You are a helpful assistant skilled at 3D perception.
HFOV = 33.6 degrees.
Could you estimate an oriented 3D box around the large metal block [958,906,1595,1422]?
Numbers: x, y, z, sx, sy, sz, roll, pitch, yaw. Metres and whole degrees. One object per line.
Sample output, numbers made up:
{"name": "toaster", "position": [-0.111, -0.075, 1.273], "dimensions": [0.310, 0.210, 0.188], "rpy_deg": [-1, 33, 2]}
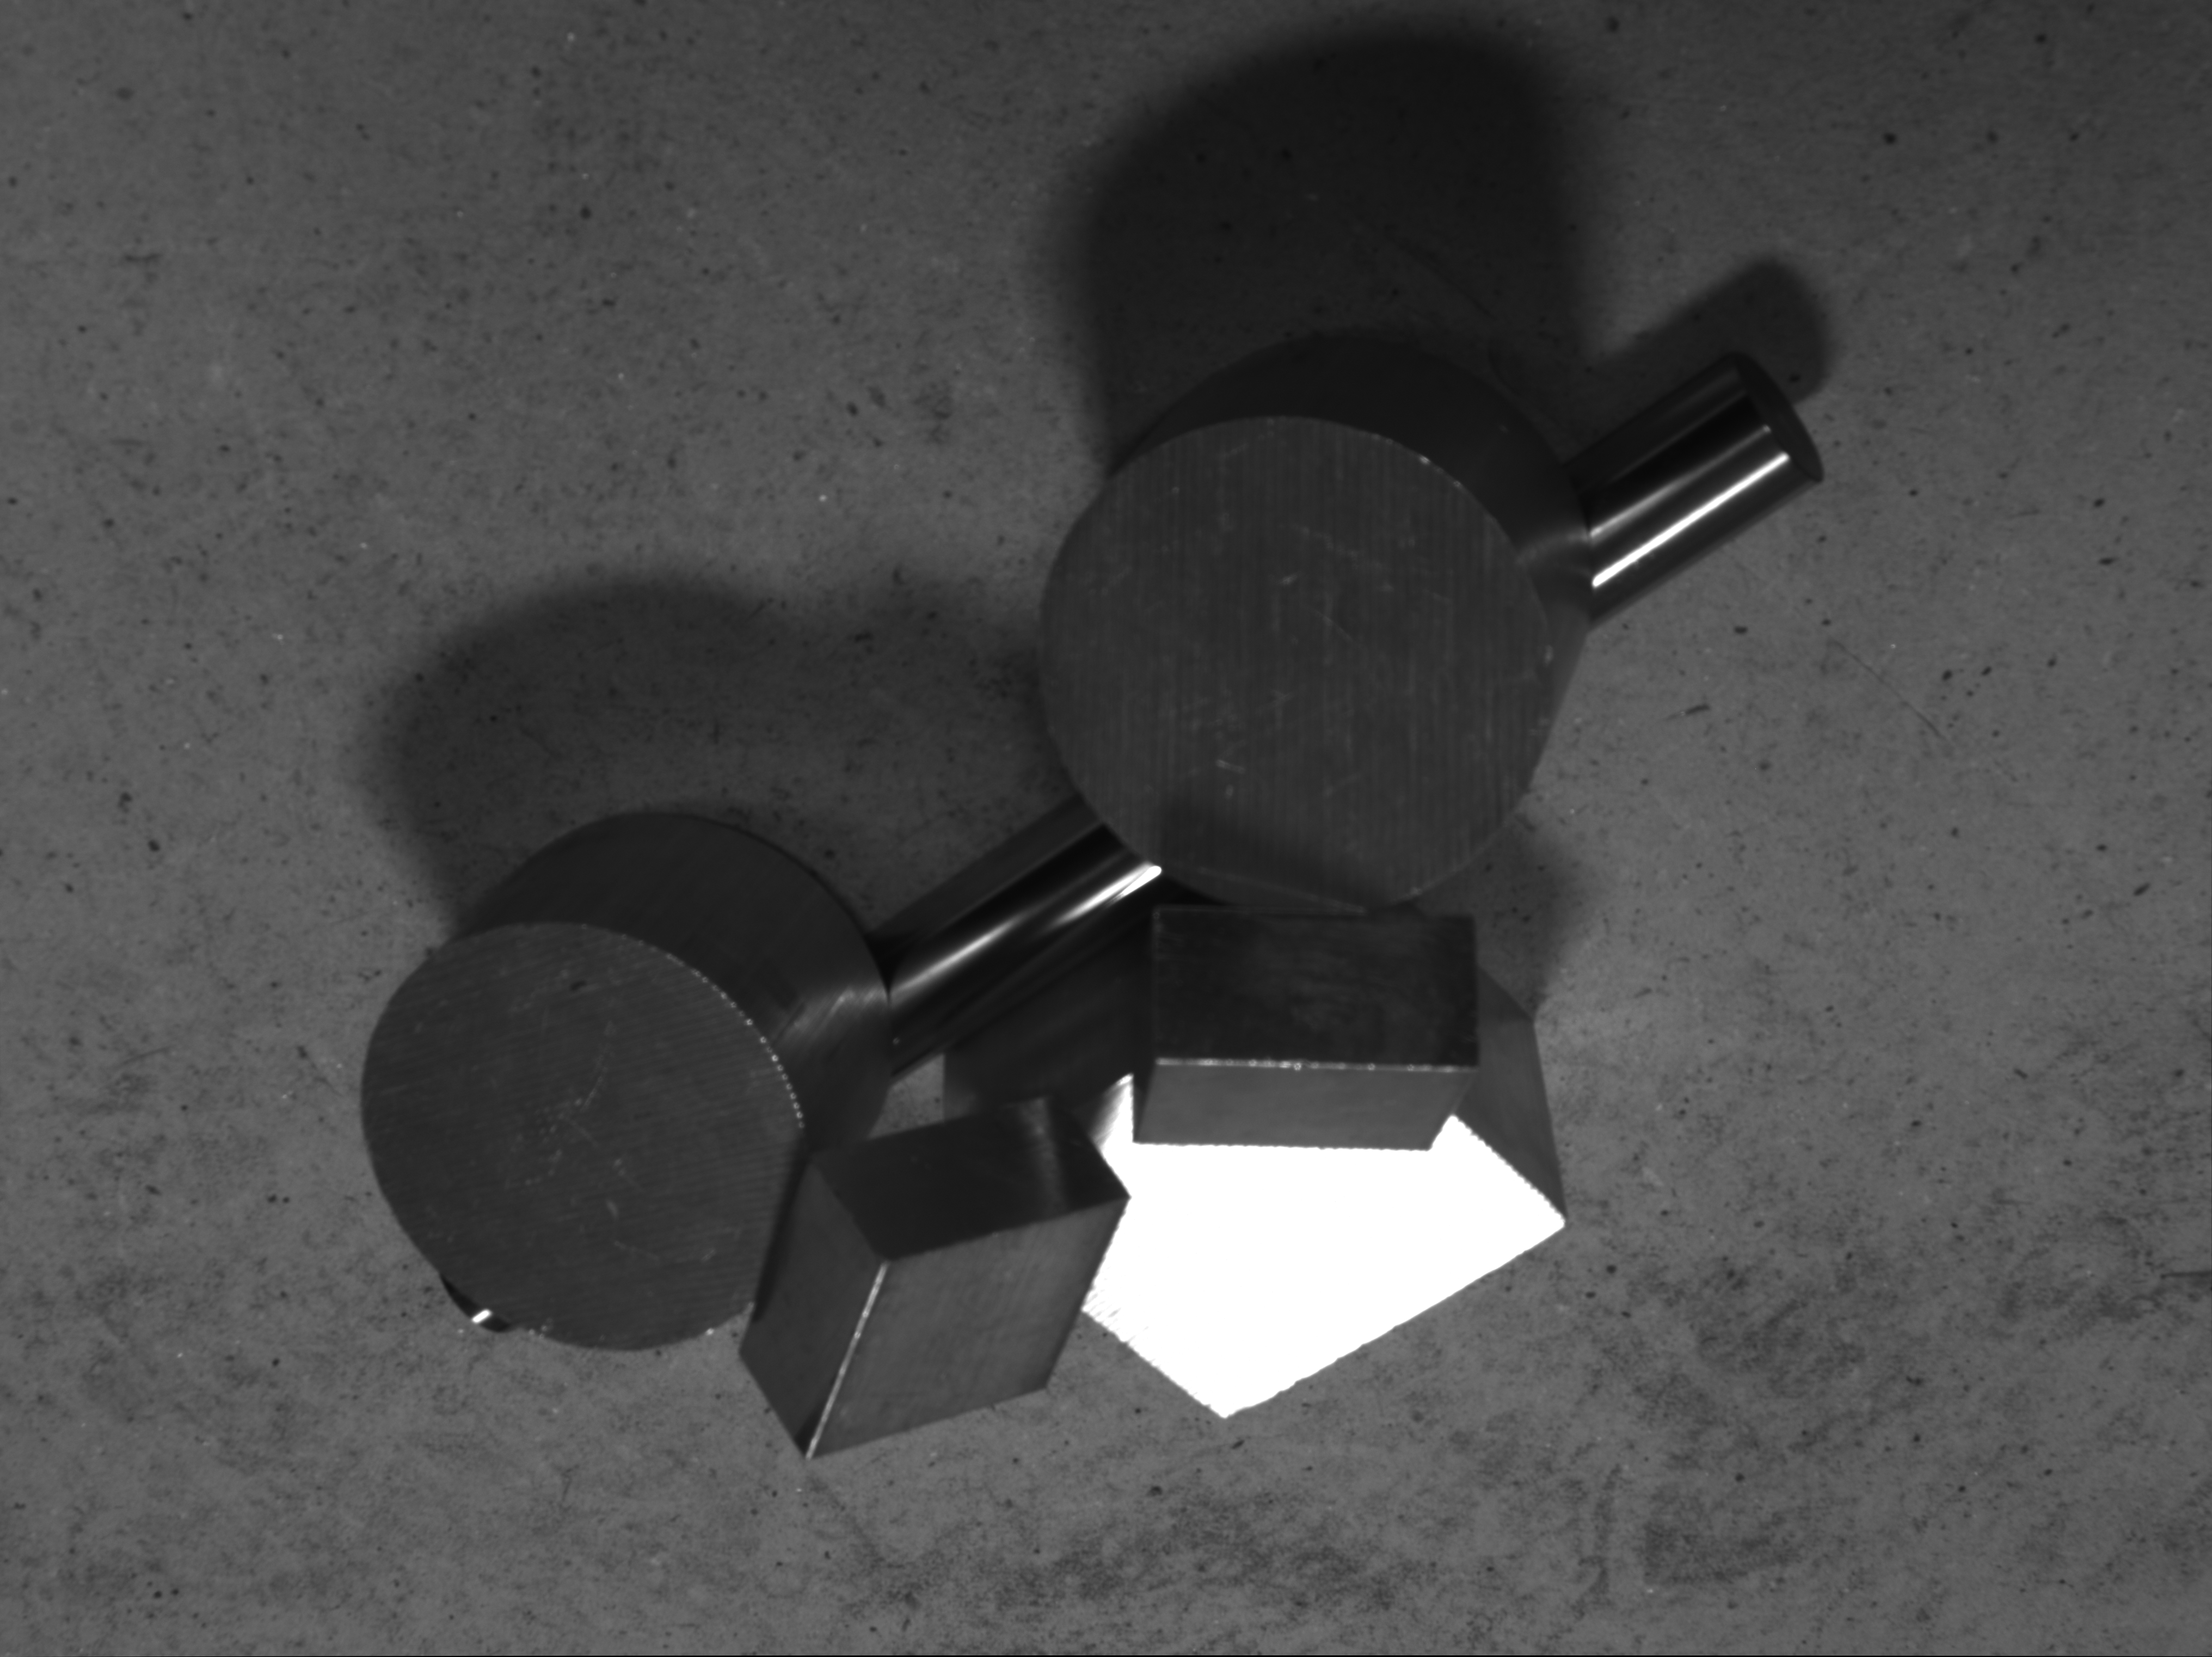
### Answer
{"name": "large metal block", "position": [0.030, 0.051, 0.664], "dimensions": [0.080, 0.050, 0.080], "rpy_deg": [-34, 123, 24]}

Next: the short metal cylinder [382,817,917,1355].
{"name": "short metal cylinder", "position": [-0.079, 0.044, 0.638], "dimensions": [0.080, 0.050, 0.080], "rpy_deg": [5, 112, 13]}

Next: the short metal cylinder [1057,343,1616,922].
{"name": "short metal cylinder", "position": [0.037, -0.032, 0.578], "dimensions": [0.080, 0.050, 0.080], "rpy_deg": [5, 112, 13]}

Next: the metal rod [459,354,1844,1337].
{"name": "metal rod", "position": [-0.003, 0.011, 0.647], "dimensions": [0.300, 0.025, 0.025], "rpy_deg": [-34, 123, 24]}

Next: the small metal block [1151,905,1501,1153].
{"name": "small metal block", "position": [0.034, 0.033, 0.586], "dimensions": [0.050, 0.025, 0.050], "rpy_deg": [2, 160, -3]}

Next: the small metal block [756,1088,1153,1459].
{"name": "small metal block", "position": [-0.026, 0.075, 0.620], "dimensions": [0.050, 0.025, 0.050], "rpy_deg": [-11, 139, -36]}
